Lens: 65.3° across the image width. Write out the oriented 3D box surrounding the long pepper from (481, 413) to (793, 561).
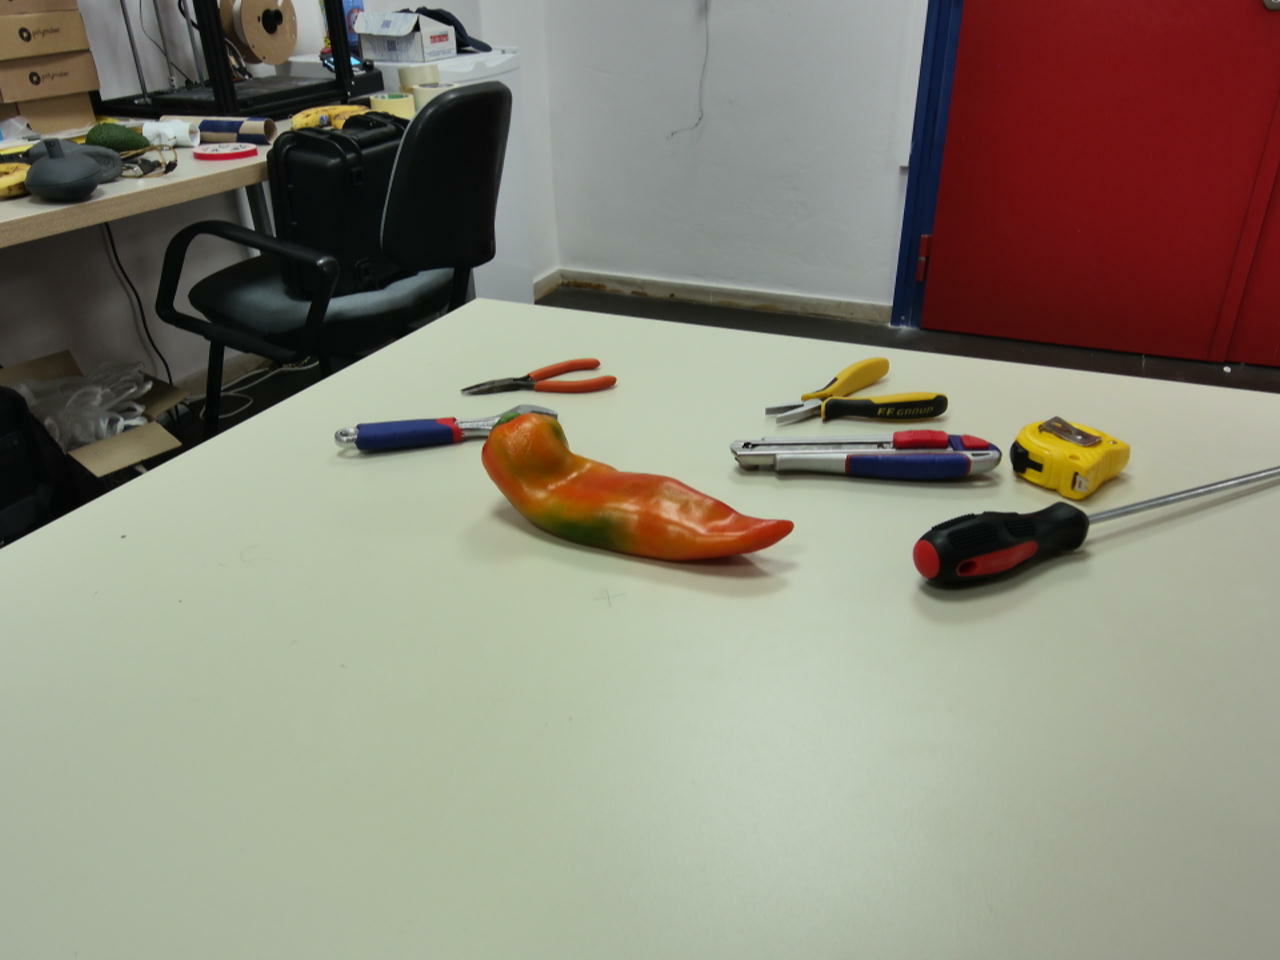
[{"bbox_3d":[-0.006,0.004,0.590,0.199,0.065,0.066,13,29,26],"label":"long pepper"}]
